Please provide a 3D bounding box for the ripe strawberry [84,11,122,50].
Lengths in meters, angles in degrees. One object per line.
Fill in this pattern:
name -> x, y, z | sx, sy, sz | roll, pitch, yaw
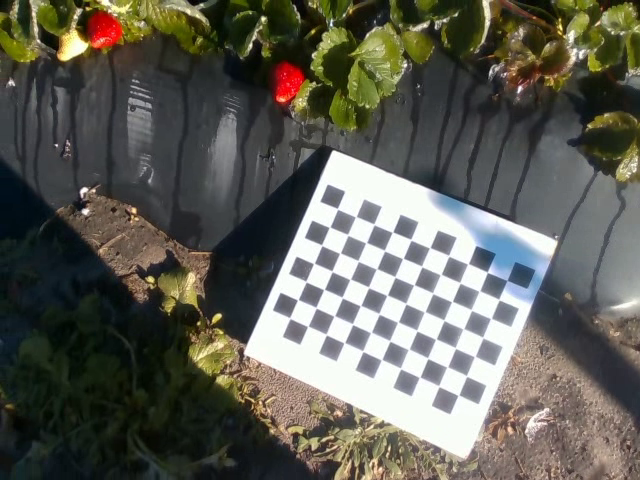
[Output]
ripe strawberry -> -0.223, -0.209, 0.604 | 0.038, 0.040, 0.051 | 8, 38, 6

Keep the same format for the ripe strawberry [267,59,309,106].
ripe strawberry -> -0.036, -0.152, 0.583 | 0.042, 0.052, 0.047 | 17, -42, 6
